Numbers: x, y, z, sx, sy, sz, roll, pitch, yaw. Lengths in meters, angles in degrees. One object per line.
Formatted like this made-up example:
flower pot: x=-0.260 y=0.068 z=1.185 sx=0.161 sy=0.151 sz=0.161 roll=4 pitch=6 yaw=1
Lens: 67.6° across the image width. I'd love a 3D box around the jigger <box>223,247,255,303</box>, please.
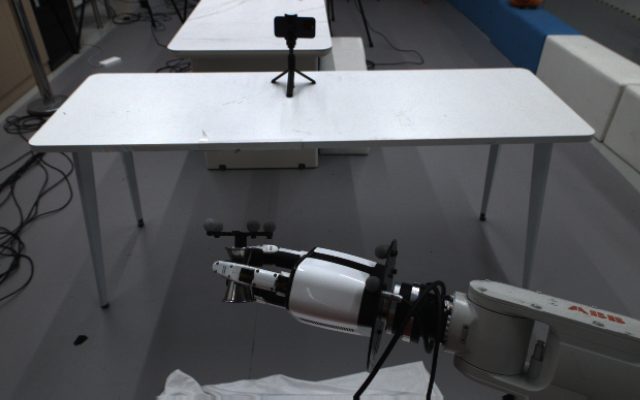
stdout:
jigger: x=-0.103 y=0.094 z=0.617 sx=0.043 sy=0.071 sz=0.043 roll=1 pitch=-5 yaw=0
